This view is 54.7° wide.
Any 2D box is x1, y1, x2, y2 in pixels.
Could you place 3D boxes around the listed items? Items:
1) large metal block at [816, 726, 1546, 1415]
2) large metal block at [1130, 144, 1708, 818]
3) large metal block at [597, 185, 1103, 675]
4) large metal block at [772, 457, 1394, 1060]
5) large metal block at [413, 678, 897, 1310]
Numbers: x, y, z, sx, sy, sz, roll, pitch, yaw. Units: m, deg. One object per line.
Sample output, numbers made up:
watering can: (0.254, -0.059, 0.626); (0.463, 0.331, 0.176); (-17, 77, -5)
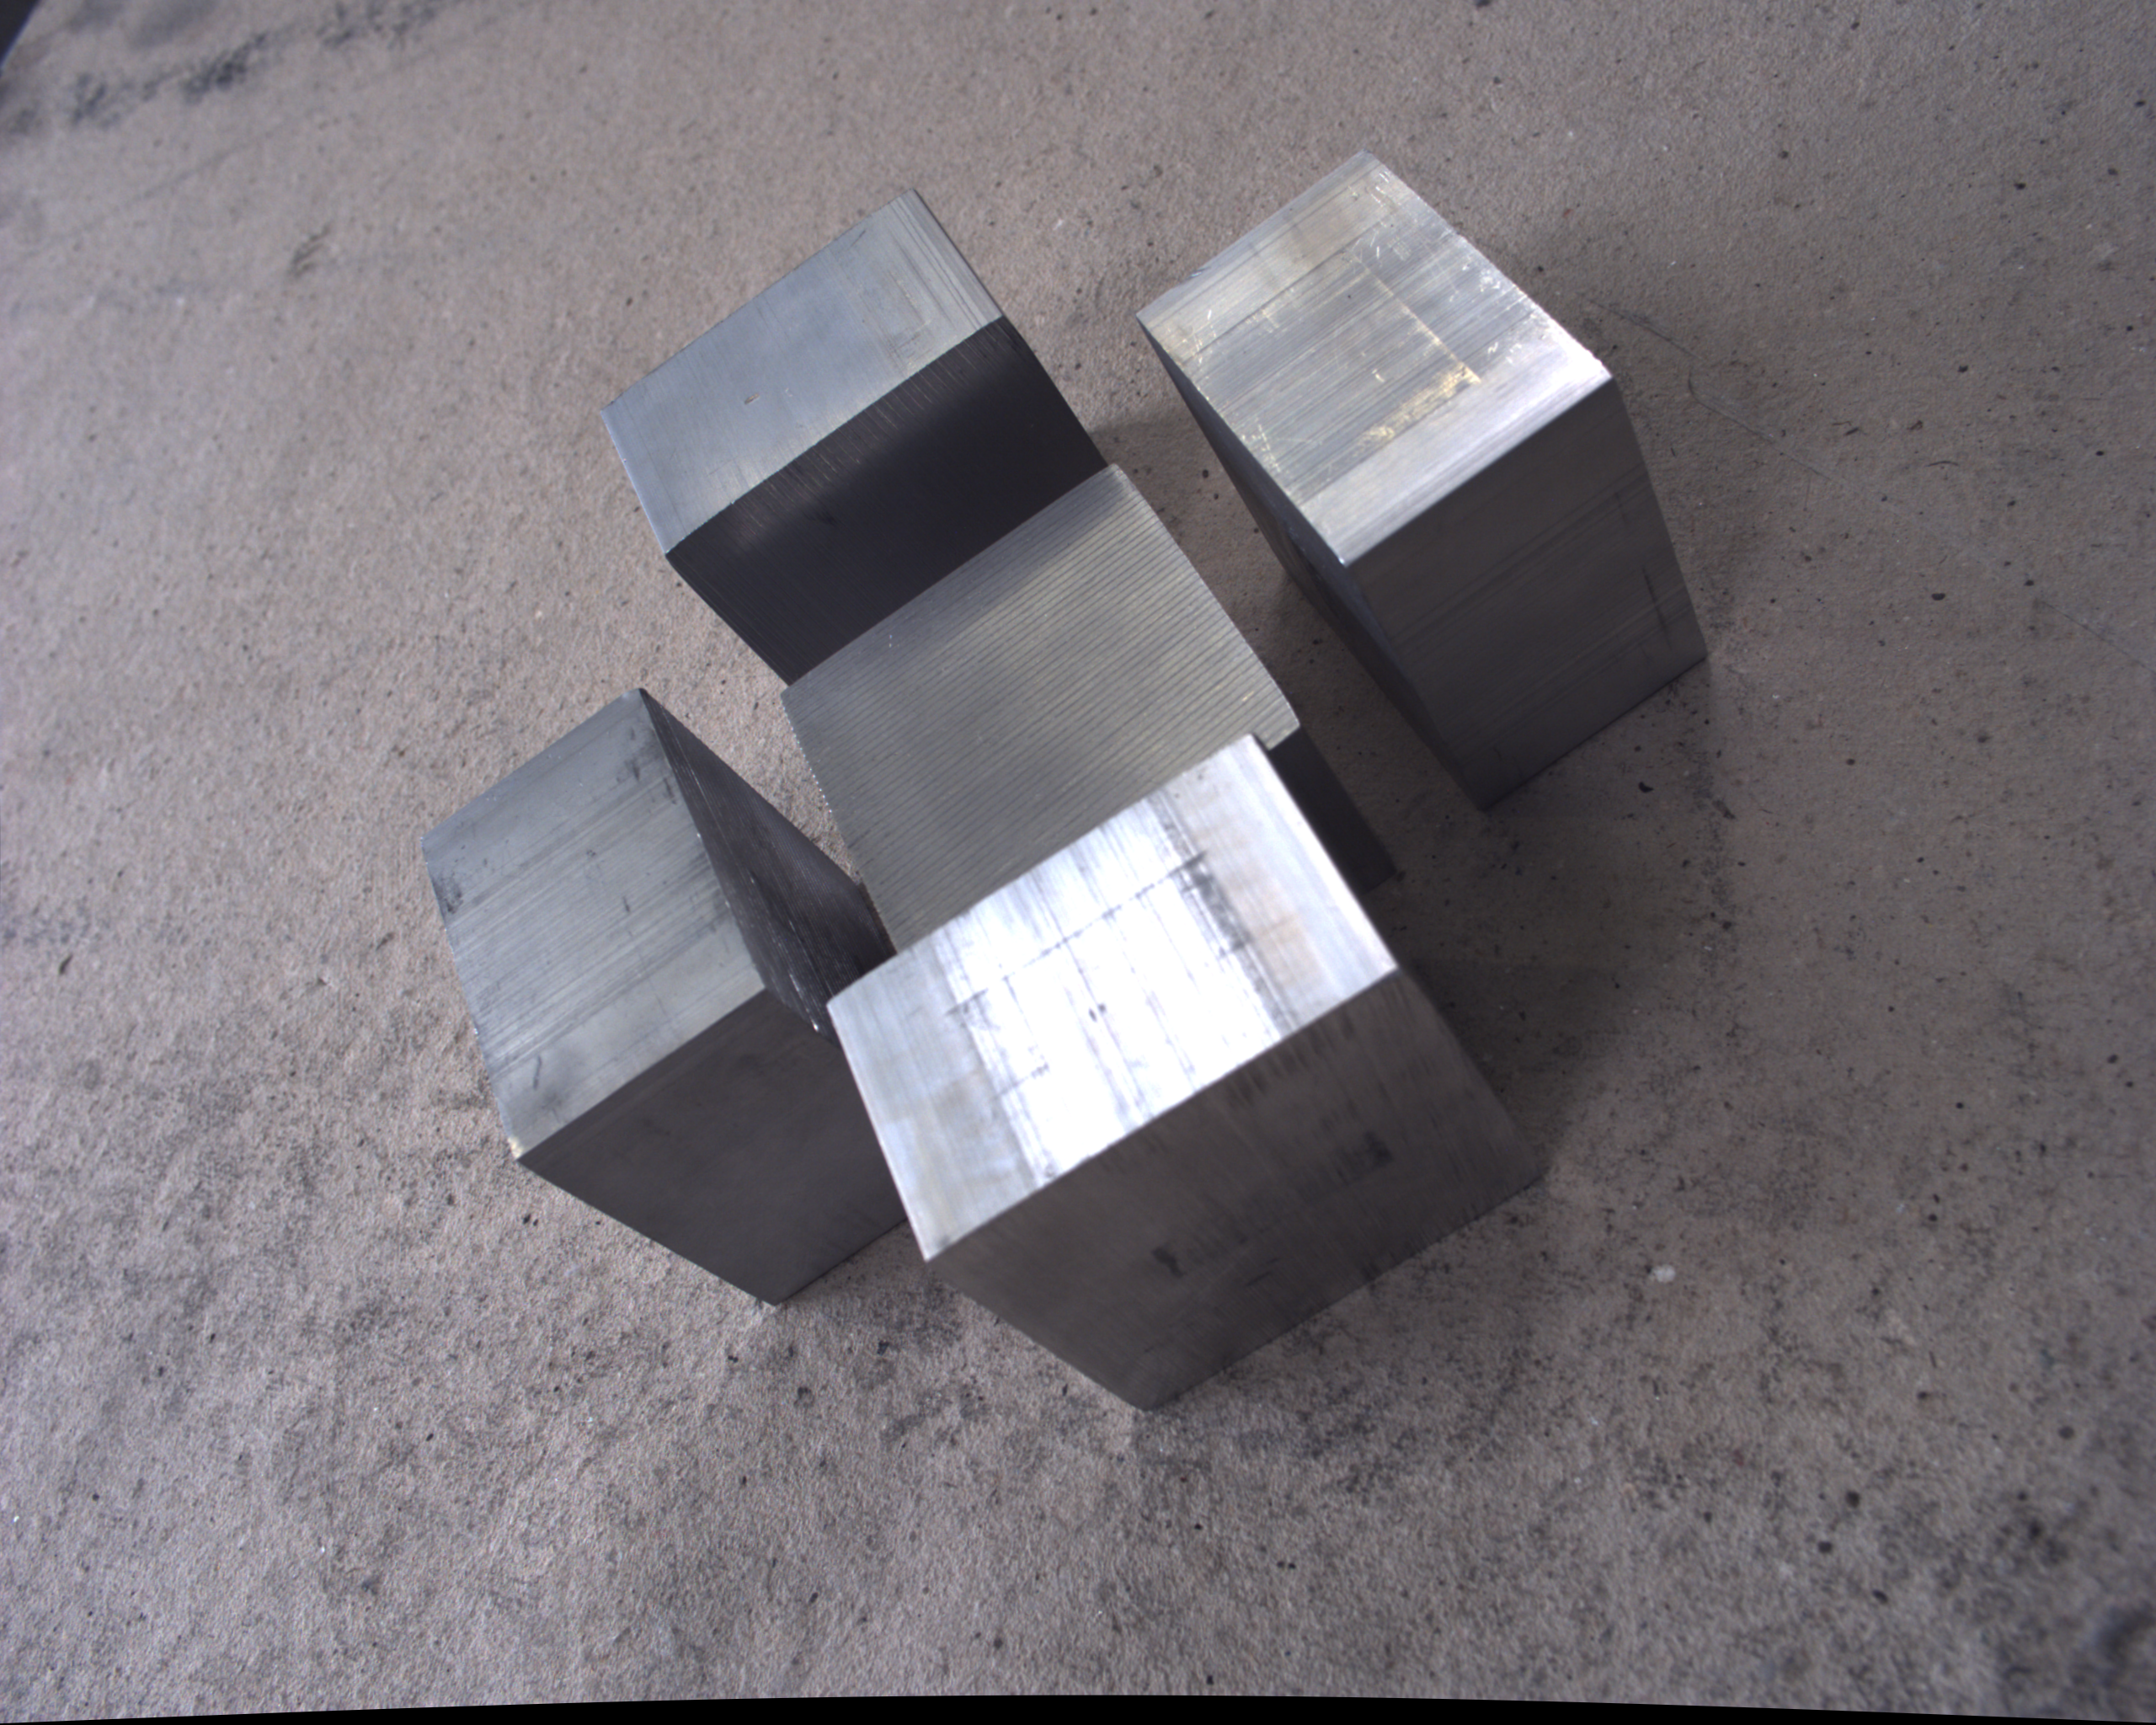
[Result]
large metal block: (0.018, 0.037, 0.337); (0.080, 0.080, 0.050); (-33, 51, 7)
large metal block: (0.063, -0.068, 0.379); (0.050, 0.080, 0.080); (-35, 51, 5)
large metal block: (-0.039, -0.079, 0.440); (0.080, 0.080, 0.050); (-34, 51, 6)
large metal block: (0.000, -0.016, 0.396); (0.080, 0.050, 0.080); (-34, 51, 6)
large metal block: (-0.070, 0.026, 0.390); (0.050, 0.080, 0.080); (-35, 51, 6)
